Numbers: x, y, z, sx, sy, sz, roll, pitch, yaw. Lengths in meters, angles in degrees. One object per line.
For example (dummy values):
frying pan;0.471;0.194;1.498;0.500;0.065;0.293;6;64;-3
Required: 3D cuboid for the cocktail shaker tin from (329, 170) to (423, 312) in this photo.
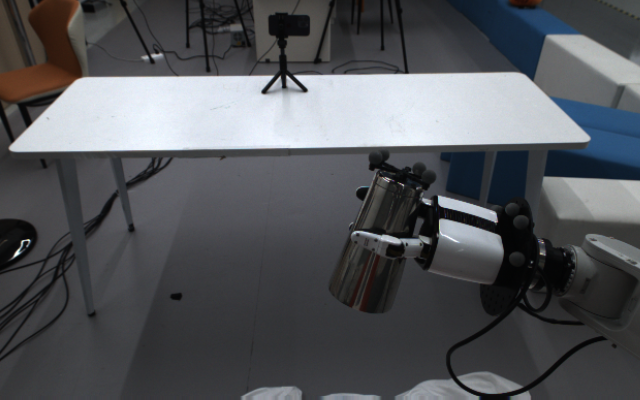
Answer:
cocktail shaker tin;0.078;0.051;0.636;0.093;0.170;0.093;15;17;-5
